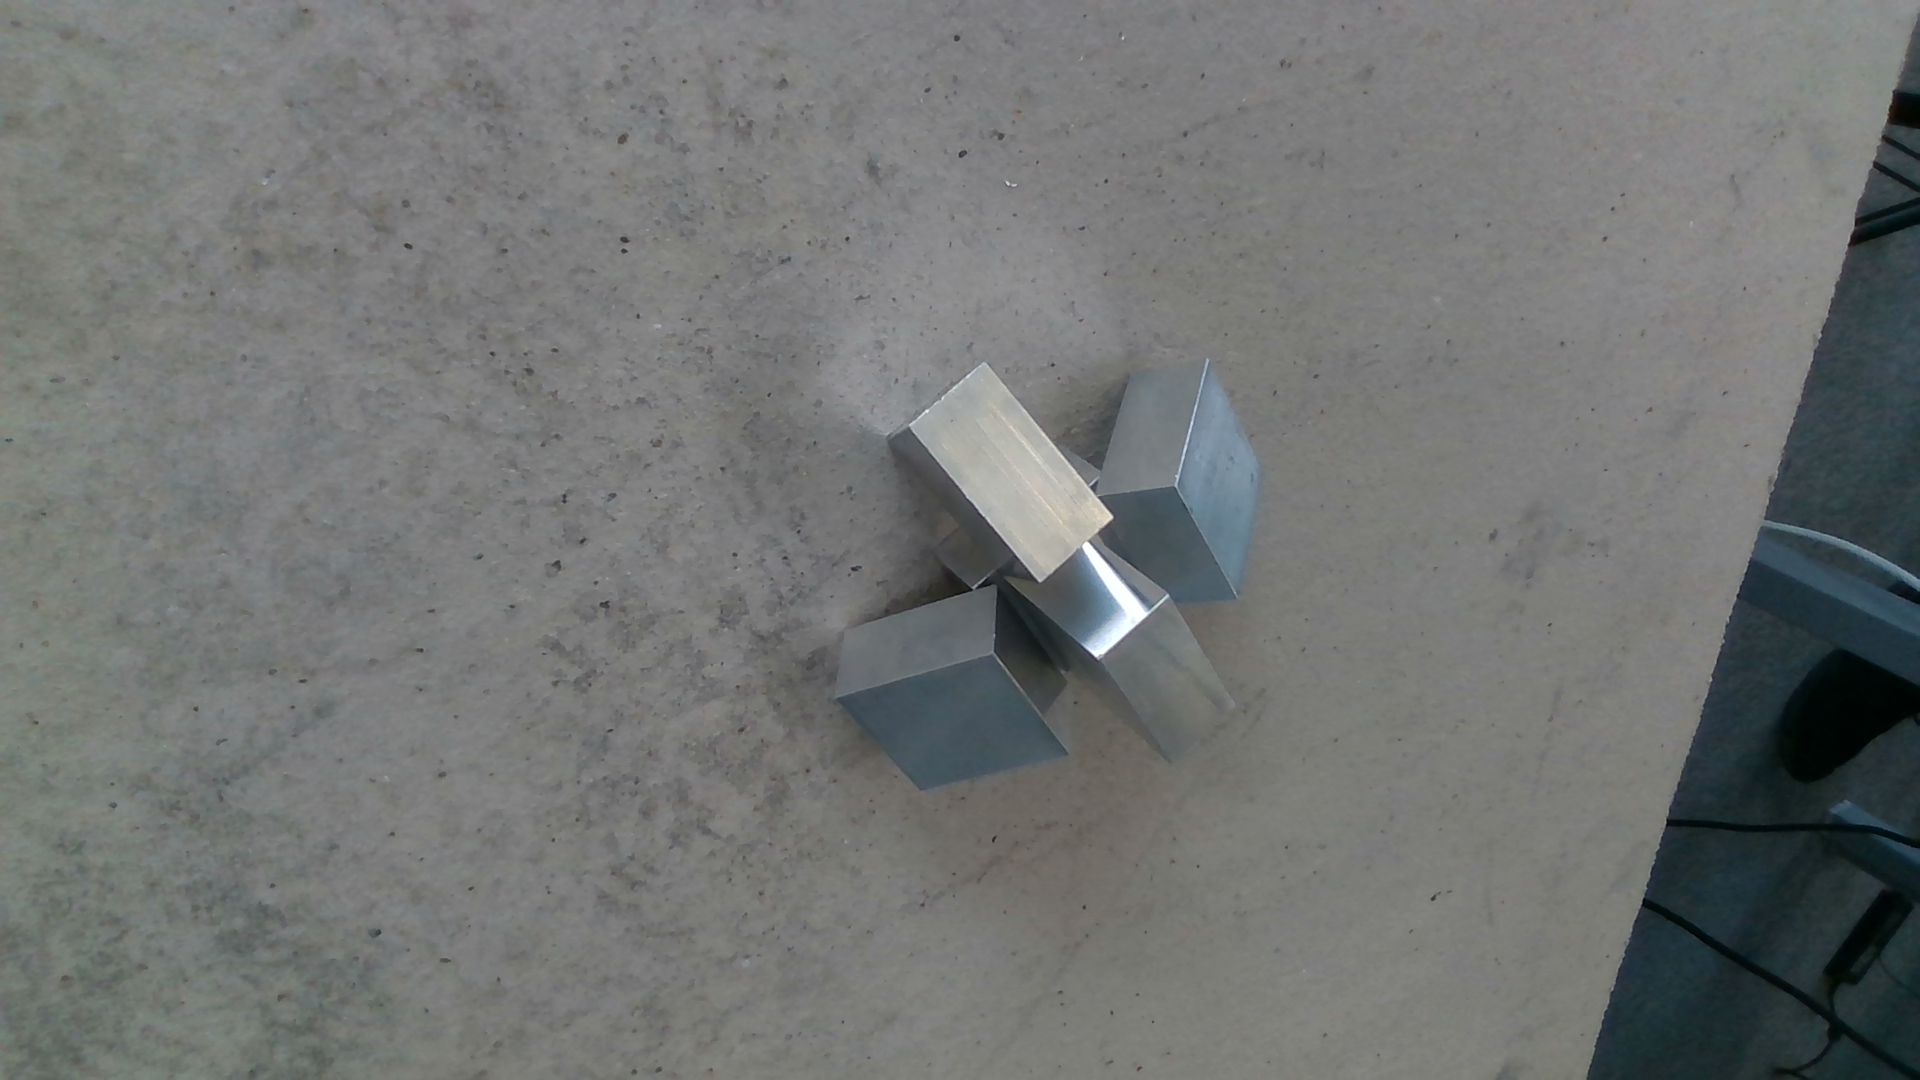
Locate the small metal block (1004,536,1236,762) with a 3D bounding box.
[{"bbox_3d":[0.044,0.026,0.383,0.025,0.050,0.050,-41,129,-6],"label":"small metal block"}]

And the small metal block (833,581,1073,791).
[{"bbox_3d":[-0.001,0.043,0.397,0.050,0.025,0.050,-18,132,22],"label":"small metal block"}]

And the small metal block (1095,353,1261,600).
[{"bbox_3d":[0.065,-0.018,0.404,0.050,0.025,0.050,54,42,-38],"label":"small metal block"}]

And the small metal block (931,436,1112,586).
[{"bbox_3d":[0.028,0.006,0.411,0.050,0.025,0.050,-41,126,-7],"label":"small metal block"}]

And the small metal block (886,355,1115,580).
[{"bbox_3d":[0.009,-0.018,0.358,0.025,0.050,0.050,-41,97,-6],"label":"small metal block"}]
